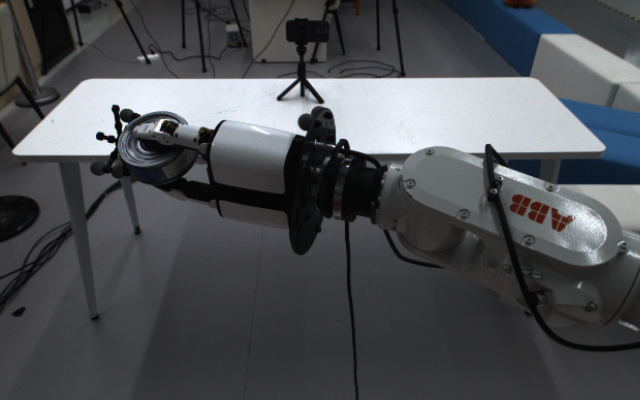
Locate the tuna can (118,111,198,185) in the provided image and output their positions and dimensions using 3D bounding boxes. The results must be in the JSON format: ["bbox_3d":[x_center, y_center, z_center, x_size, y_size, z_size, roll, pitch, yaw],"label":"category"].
[{"bbox_3d":[-0.187,-0.062,0.565,0.085,0.034,0.085,-2,58,3],"label":"tuna can"}]
